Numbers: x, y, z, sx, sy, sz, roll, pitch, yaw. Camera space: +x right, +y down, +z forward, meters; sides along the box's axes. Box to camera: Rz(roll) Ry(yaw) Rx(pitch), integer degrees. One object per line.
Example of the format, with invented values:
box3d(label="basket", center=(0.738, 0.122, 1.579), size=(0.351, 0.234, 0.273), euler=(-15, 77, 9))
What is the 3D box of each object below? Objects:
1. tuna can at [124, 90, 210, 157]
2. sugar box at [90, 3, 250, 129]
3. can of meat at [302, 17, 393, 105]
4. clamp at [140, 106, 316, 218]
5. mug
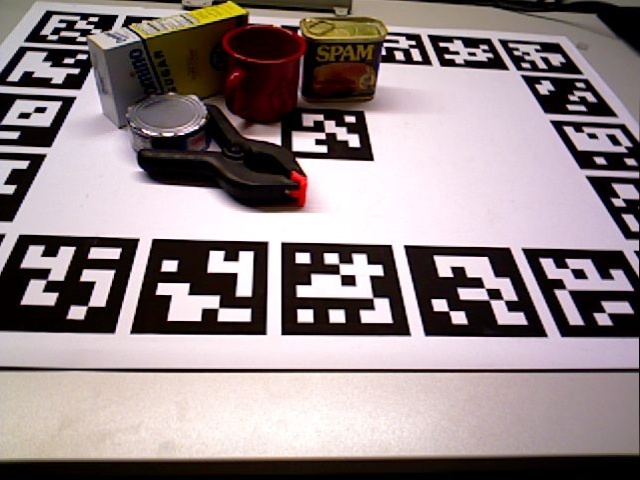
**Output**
box3d(label="tuna can", center=(-0.156, -0.117, 0.561), size=(0.085, 0.034, 0.084), euler=(3, 48, -4))
box3d(label="sugar box", center=(-0.157, -0.195, 0.603), size=(0.172, 0.095, 0.045), euler=(-29, 55, -31))
box3d(label="can of meat", center=(0.031, -0.212, 0.649), size=(0.101, 0.086, 0.057), euler=(-4, 46, -13))
box3d(label="clamp", center=(-0.077, -0.071, 0.535), size=(0.165, 0.037, 0.119), euler=(30, 46, 15))
box3d(label="mug", center=(-0.064, -0.184, 0.600), size=(0.093, 0.083, 0.114), euler=(20, 49, 11))
